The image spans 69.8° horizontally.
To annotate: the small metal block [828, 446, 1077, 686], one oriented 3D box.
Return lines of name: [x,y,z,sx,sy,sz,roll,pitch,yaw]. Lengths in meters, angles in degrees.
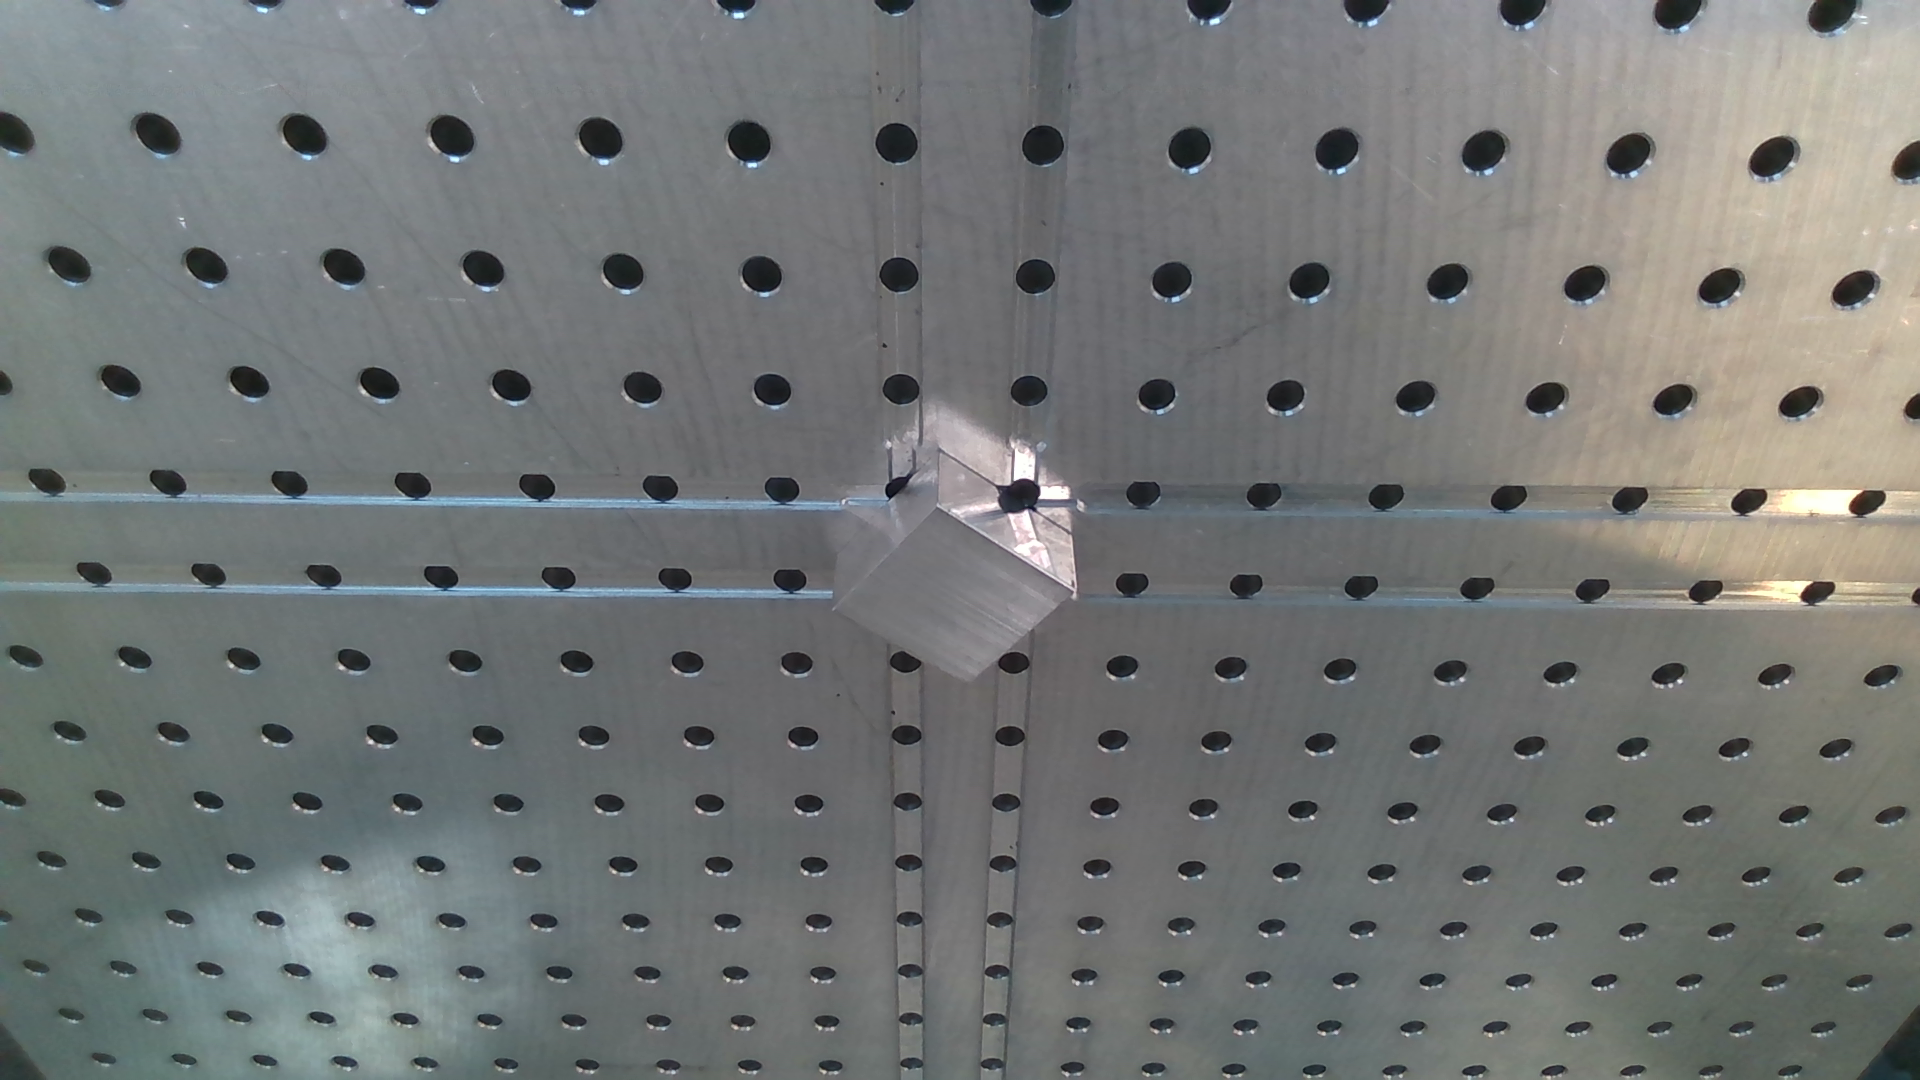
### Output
small metal block: [-0.002,0.009,0.398,0.050,0.025,0.050,31,124,-23]
